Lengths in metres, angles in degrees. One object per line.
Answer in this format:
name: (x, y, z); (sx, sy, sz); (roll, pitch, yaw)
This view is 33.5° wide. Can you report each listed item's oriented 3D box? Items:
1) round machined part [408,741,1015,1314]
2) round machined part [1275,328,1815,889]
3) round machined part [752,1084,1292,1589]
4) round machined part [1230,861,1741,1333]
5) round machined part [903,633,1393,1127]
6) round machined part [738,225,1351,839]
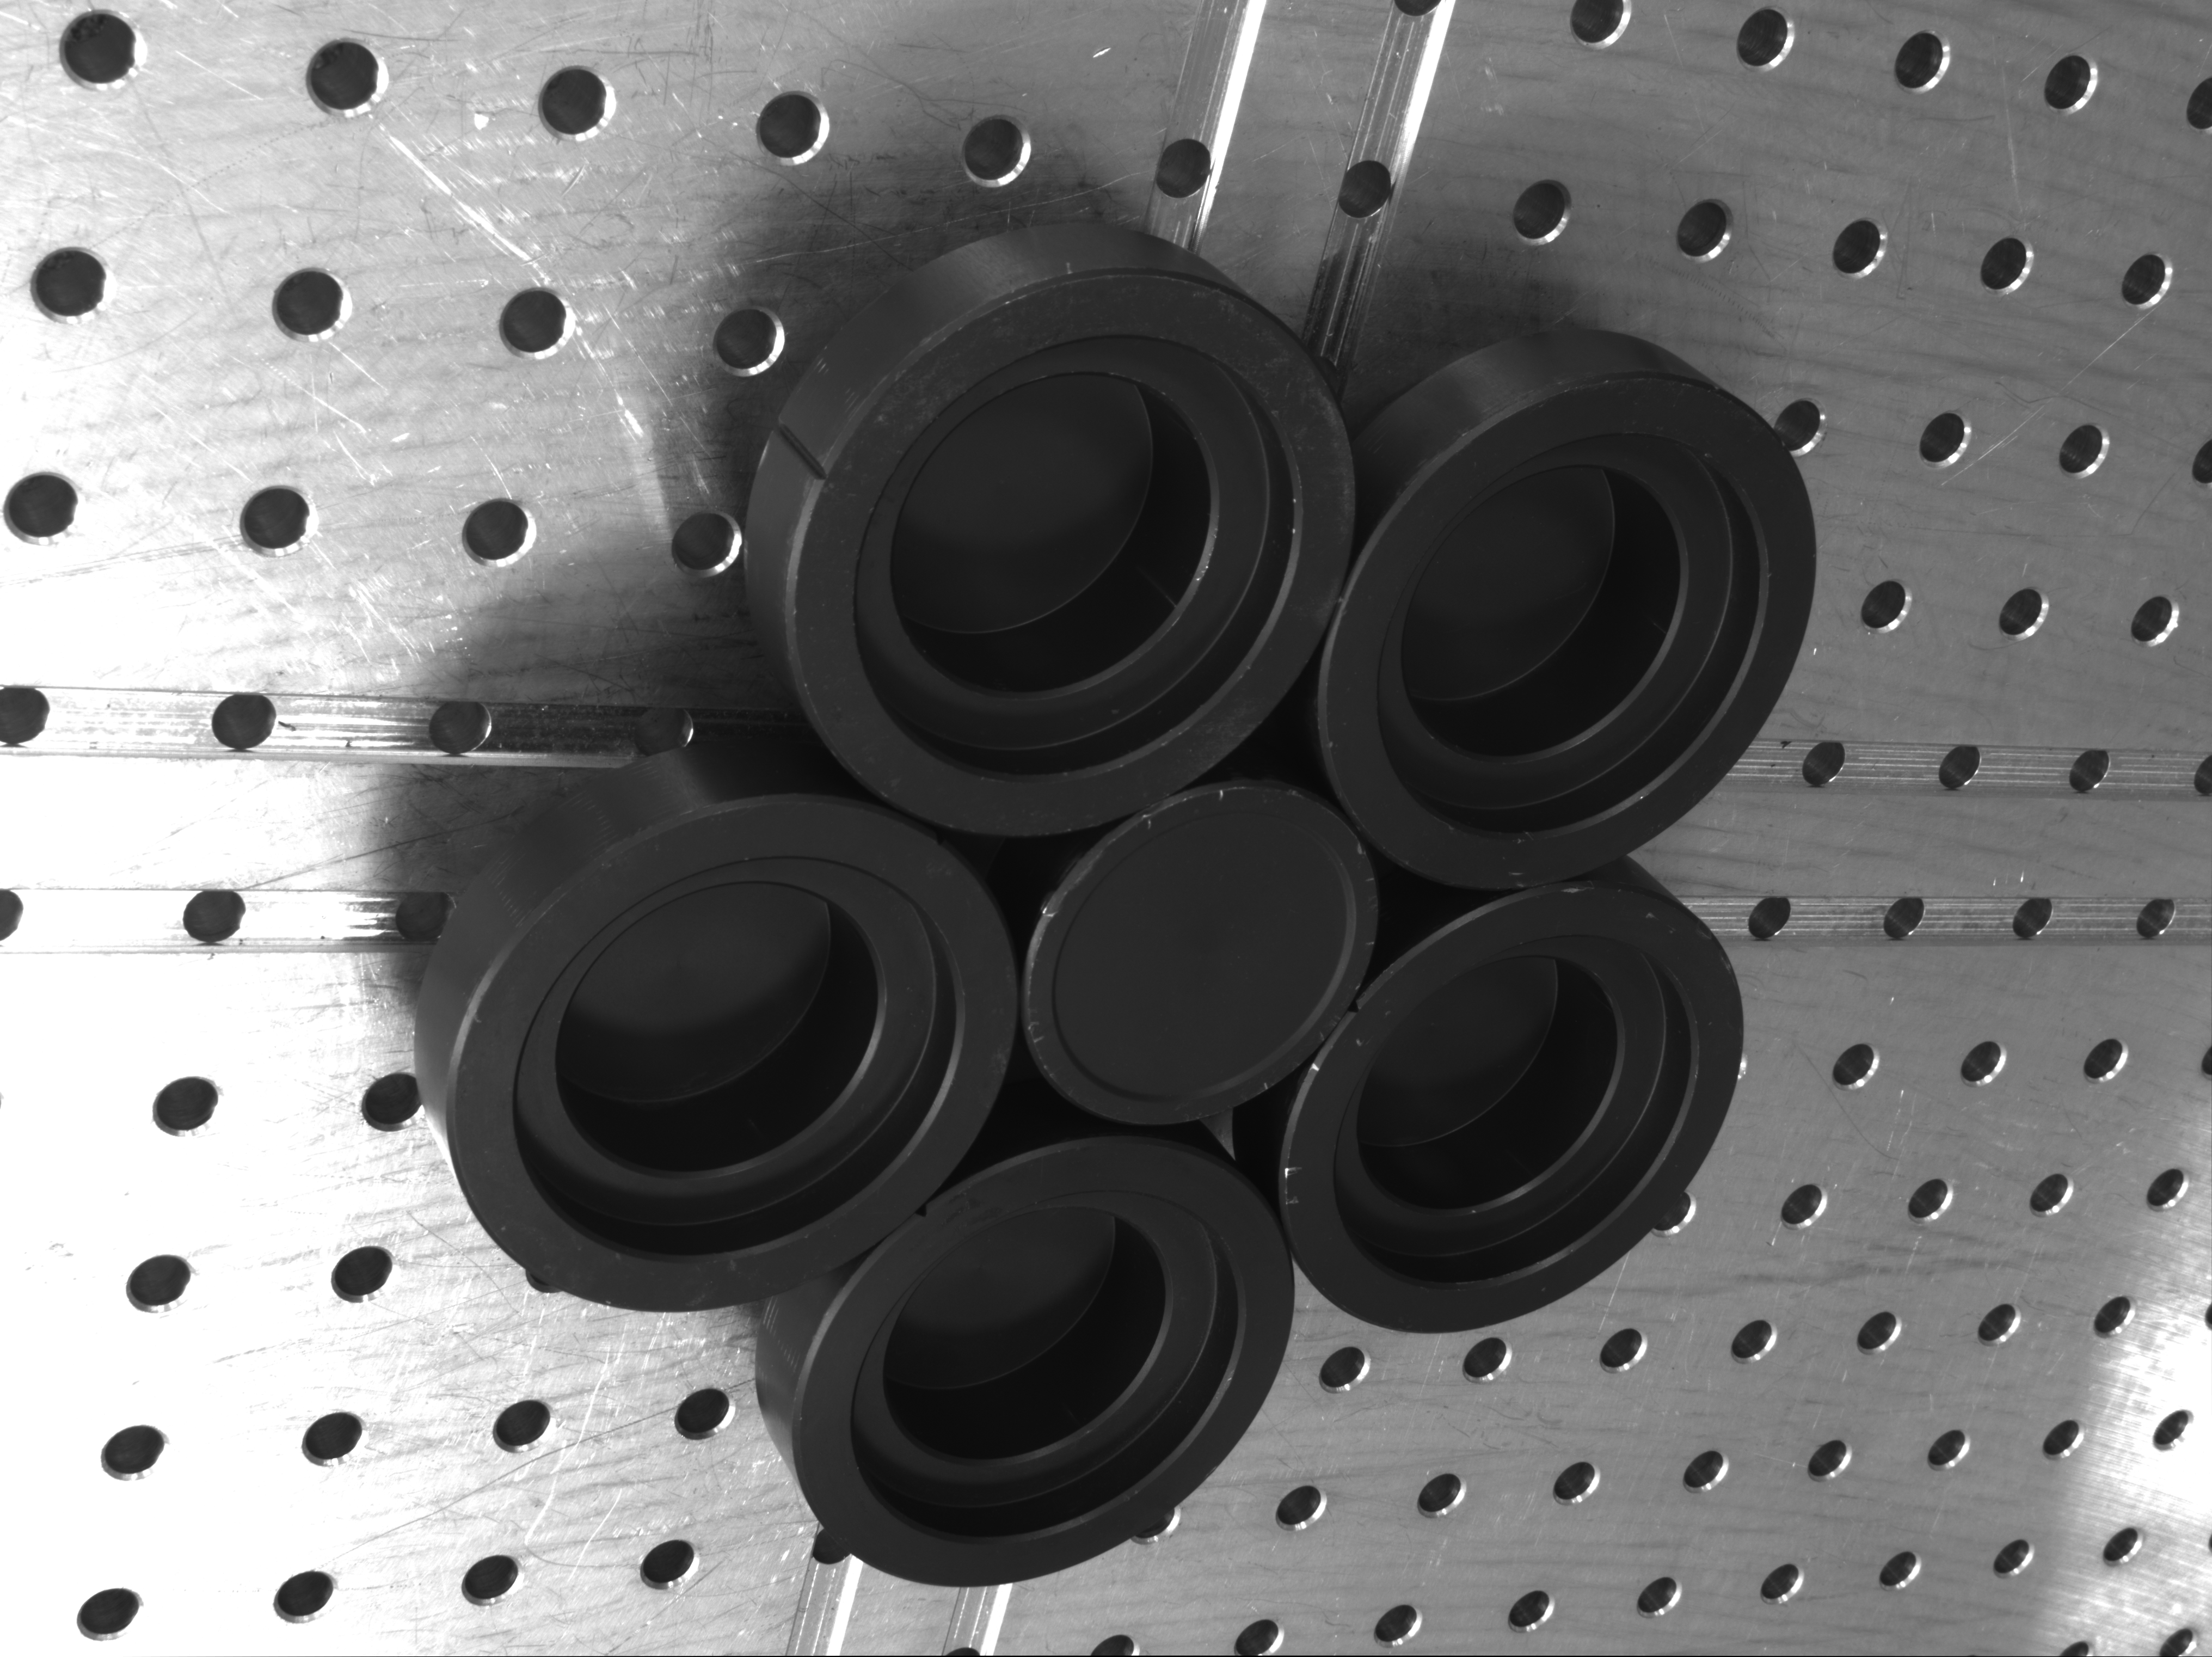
round machined part: (-0.068, 0.029, 0.610); (0.098, 0.042, 0.098); (-13, 124, -21)
round machined part: (0.071, -0.042, 0.642); (0.098, 0.042, 0.098); (-13, 124, -21)
round machined part: (-0.019, 0.087, 0.672); (0.098, 0.042, 0.098); (-13, 124, -21)
round machined part: (0.067, 0.043, 0.692); (0.098, 0.042, 0.098); (-13, 124, -21)
round machined part: (0.008, 0.013, 0.641); (0.098, 0.042, 0.098); (-13, 124, -21)
round machined part: (-0.013, -0.051, 0.591); (0.098, 0.042, 0.098); (-13, 124, -21)
